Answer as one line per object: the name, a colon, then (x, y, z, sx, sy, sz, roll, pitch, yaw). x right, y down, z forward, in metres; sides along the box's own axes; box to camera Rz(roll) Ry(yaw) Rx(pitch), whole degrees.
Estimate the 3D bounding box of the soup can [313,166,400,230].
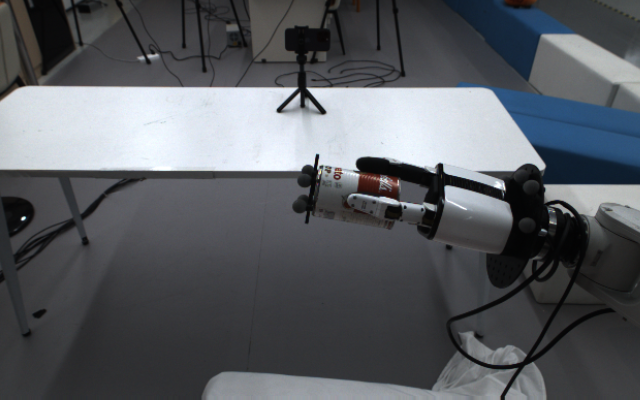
soup can: (0.047, -0.004, 0.612, 0.101, 0.067, 0.067, 9, 35, 0)
